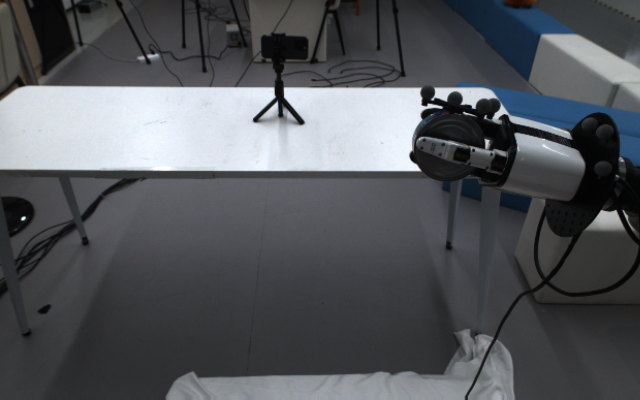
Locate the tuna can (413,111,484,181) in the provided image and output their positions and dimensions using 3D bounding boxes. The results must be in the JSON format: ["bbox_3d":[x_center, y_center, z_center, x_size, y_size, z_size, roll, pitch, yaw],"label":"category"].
[{"bbox_3d":[0.160,-0.072,0.606,0.085,0.085,0.034,5,19,3],"label":"tuna can"}]
